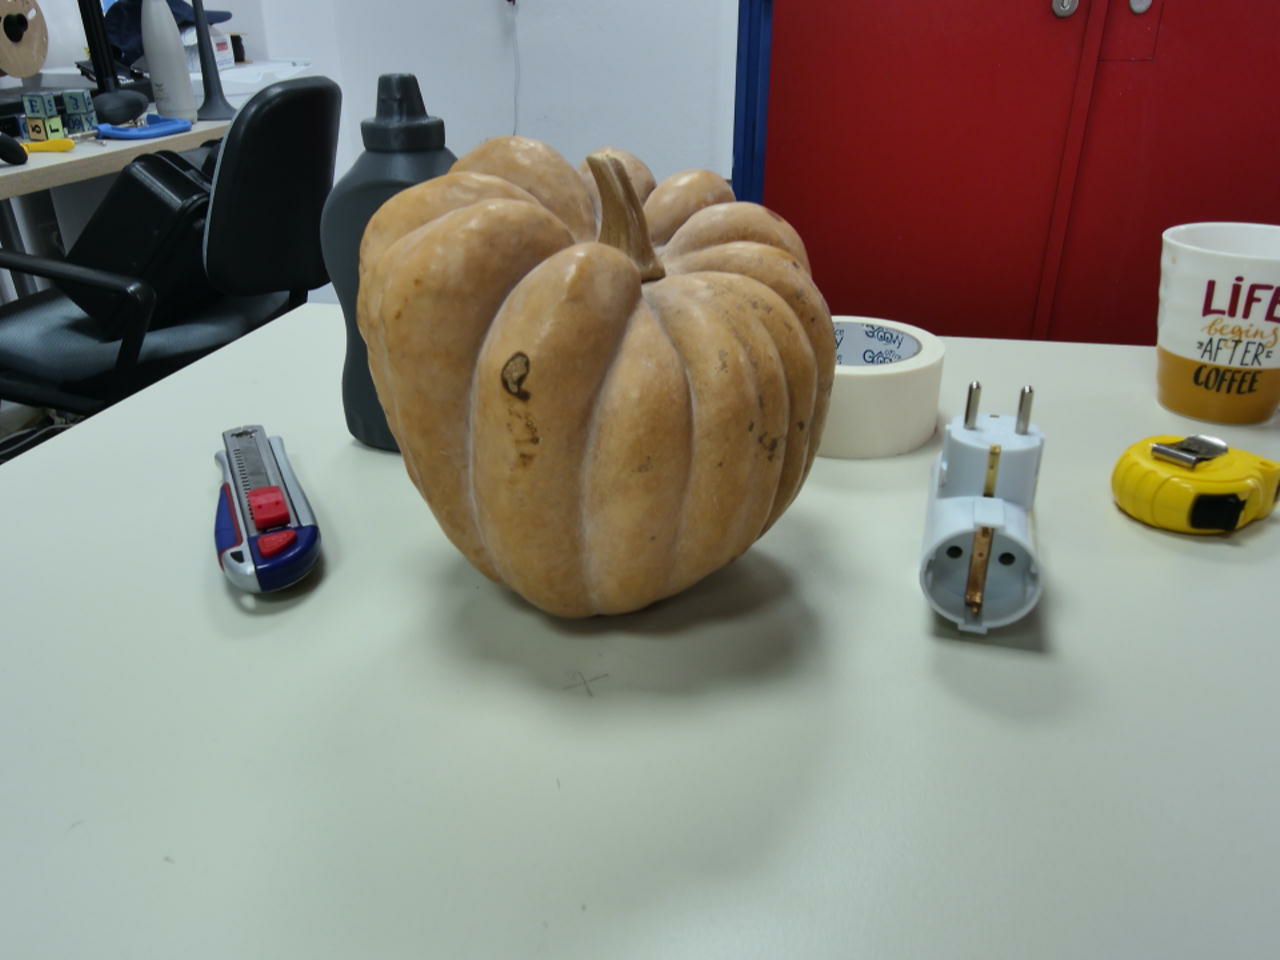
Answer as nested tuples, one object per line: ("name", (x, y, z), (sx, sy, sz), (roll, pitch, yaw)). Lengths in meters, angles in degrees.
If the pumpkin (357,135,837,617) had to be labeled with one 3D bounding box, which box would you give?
("pumpkin", (-0.017, -0.043, 0.407), (0.199, 0.177, 0.198), (0, 24, 0))
